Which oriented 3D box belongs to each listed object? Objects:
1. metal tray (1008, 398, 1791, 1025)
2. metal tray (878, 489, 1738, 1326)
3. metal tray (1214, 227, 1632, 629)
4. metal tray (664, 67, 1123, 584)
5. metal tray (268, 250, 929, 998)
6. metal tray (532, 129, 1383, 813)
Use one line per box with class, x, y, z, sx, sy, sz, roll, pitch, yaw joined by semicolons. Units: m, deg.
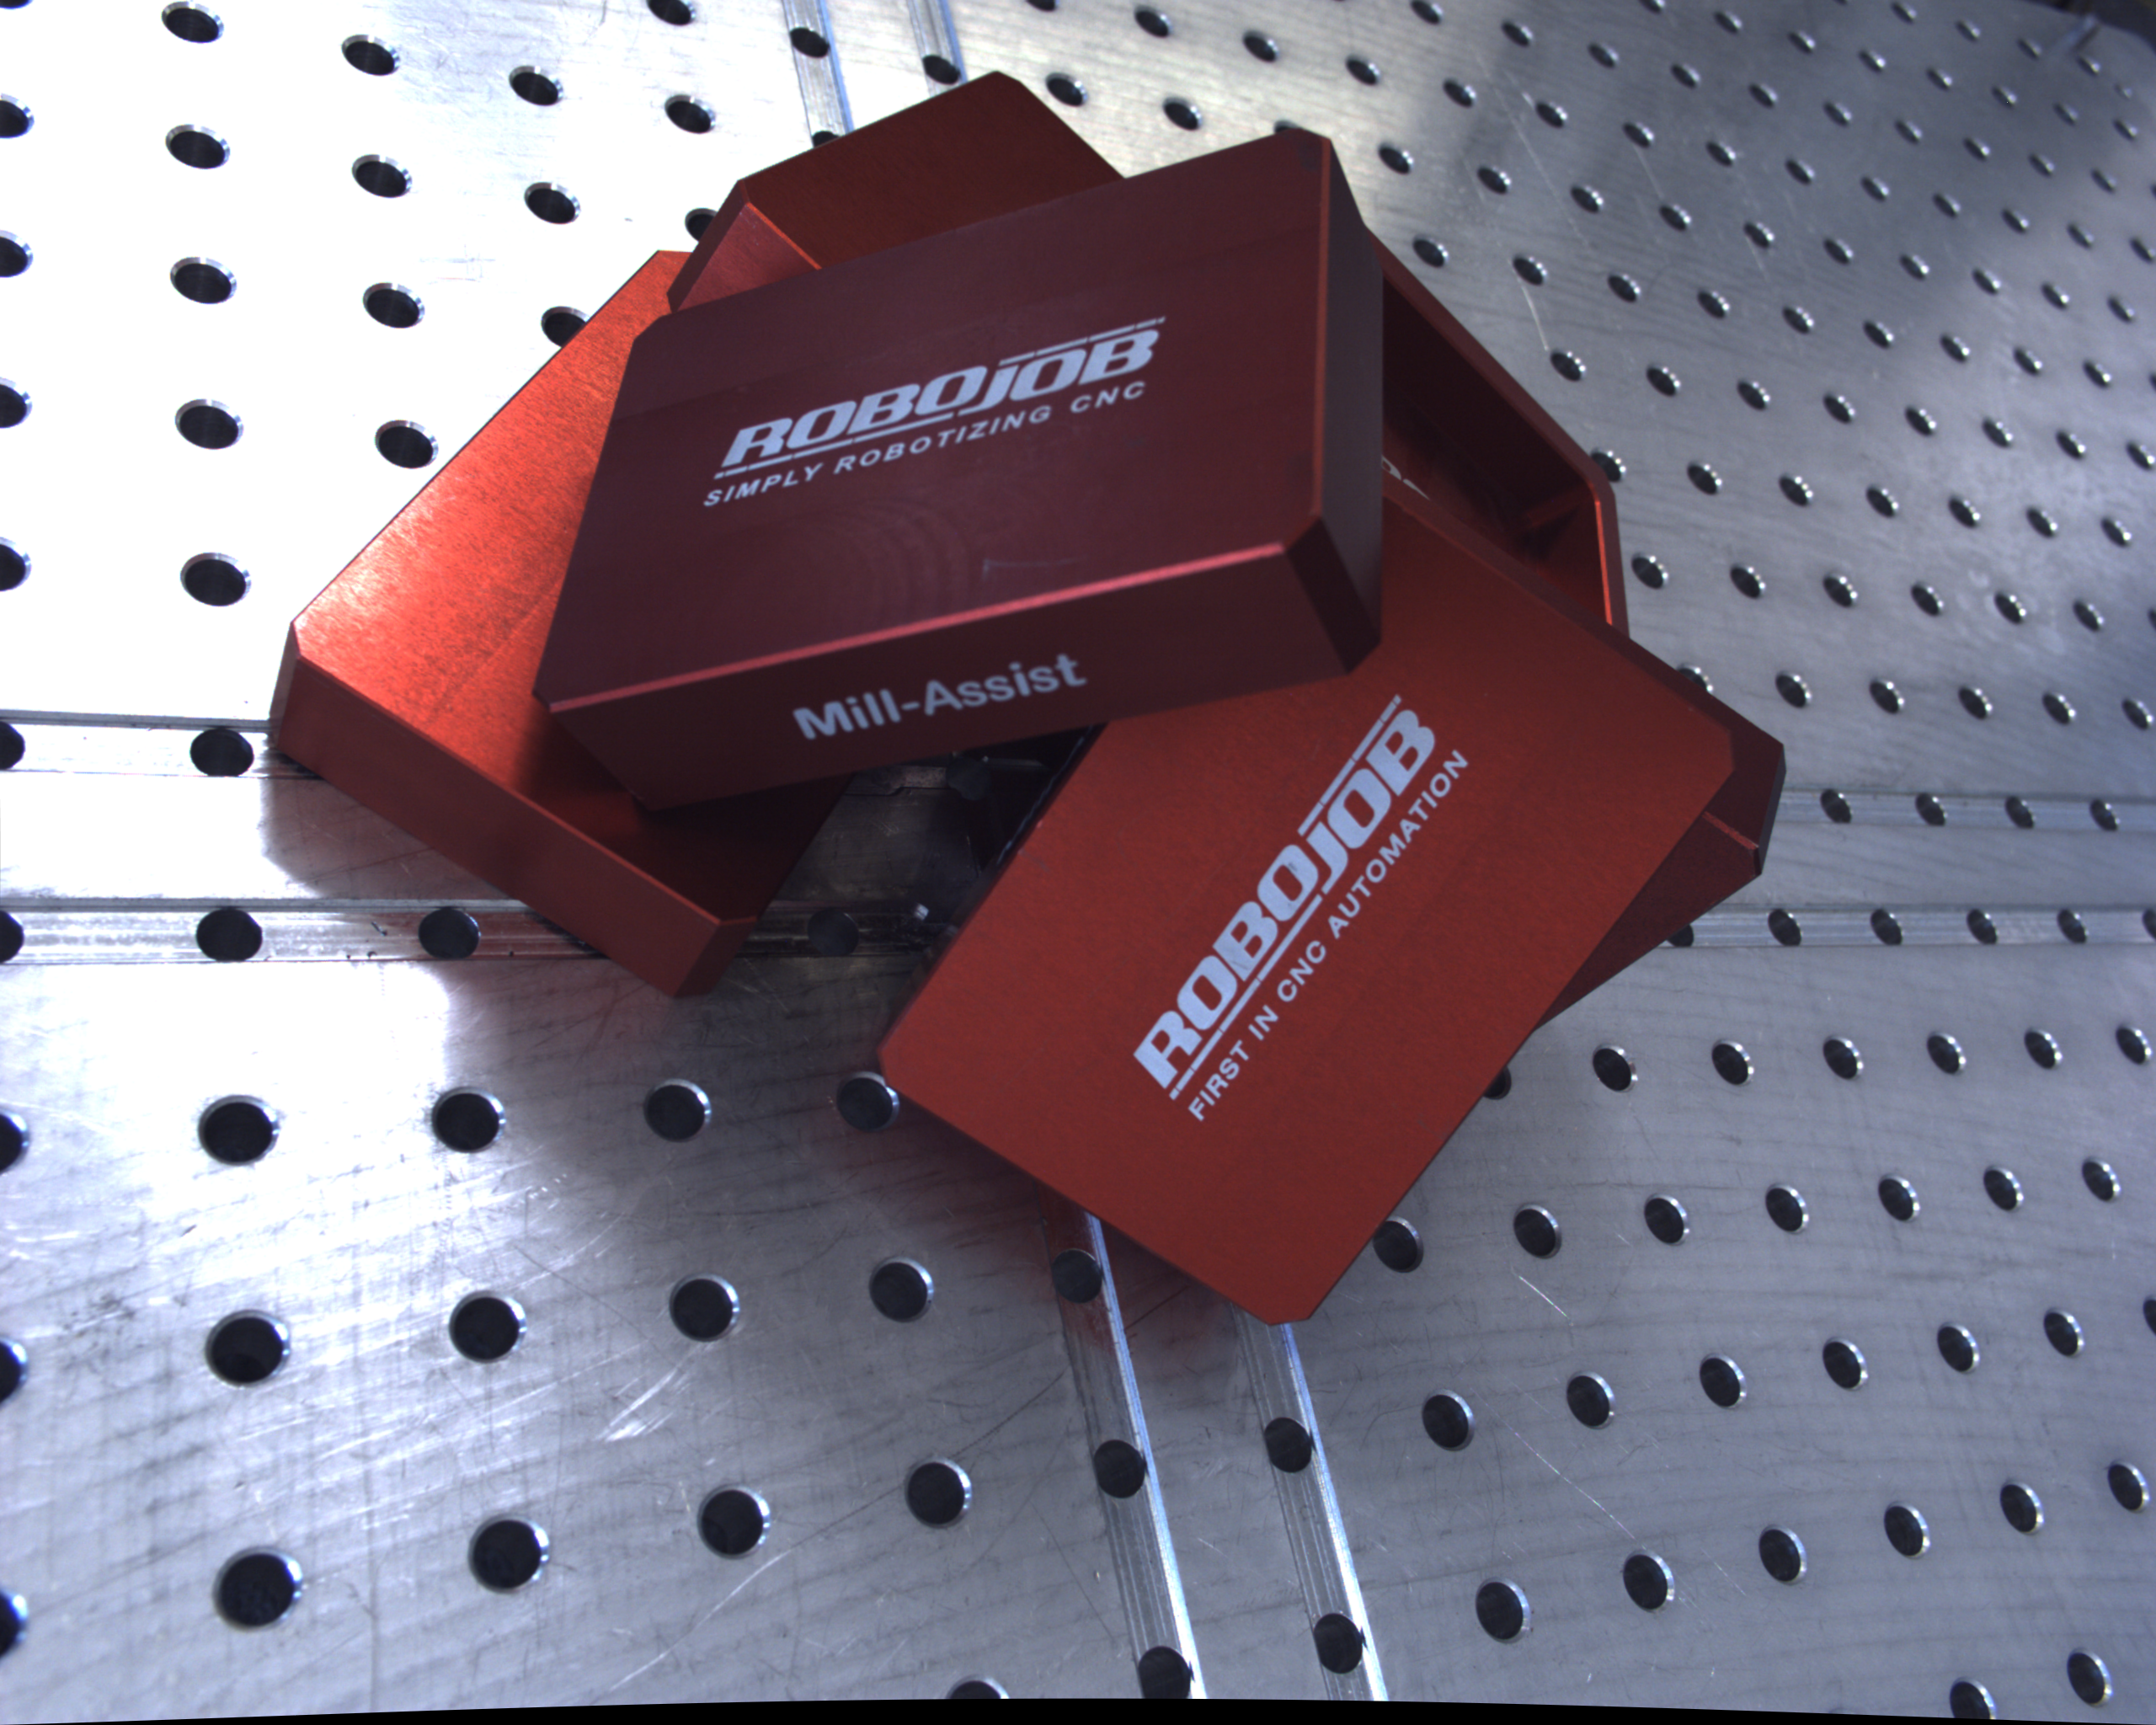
metal tray;0.059;-0.024;0.411;0.130;0.090;0.030;33;51;-7
metal tray;0.037;0.005;0.363;0.090;0.130;0.030;34;13;-6
metal tray;0.076;-0.080;0.463;0.130;0.030;0.090;32;48;-36
metal tray;-0.016;-0.116;0.443;0.090;0.030;0.131;42;37;-4
metal tray;-0.075;-0.049;0.394;0.090;0.030;0.130;34;51;-7
metal tray;-0.018;-0.062;0.339;0.030;0.130;0.090;54;33;-49
